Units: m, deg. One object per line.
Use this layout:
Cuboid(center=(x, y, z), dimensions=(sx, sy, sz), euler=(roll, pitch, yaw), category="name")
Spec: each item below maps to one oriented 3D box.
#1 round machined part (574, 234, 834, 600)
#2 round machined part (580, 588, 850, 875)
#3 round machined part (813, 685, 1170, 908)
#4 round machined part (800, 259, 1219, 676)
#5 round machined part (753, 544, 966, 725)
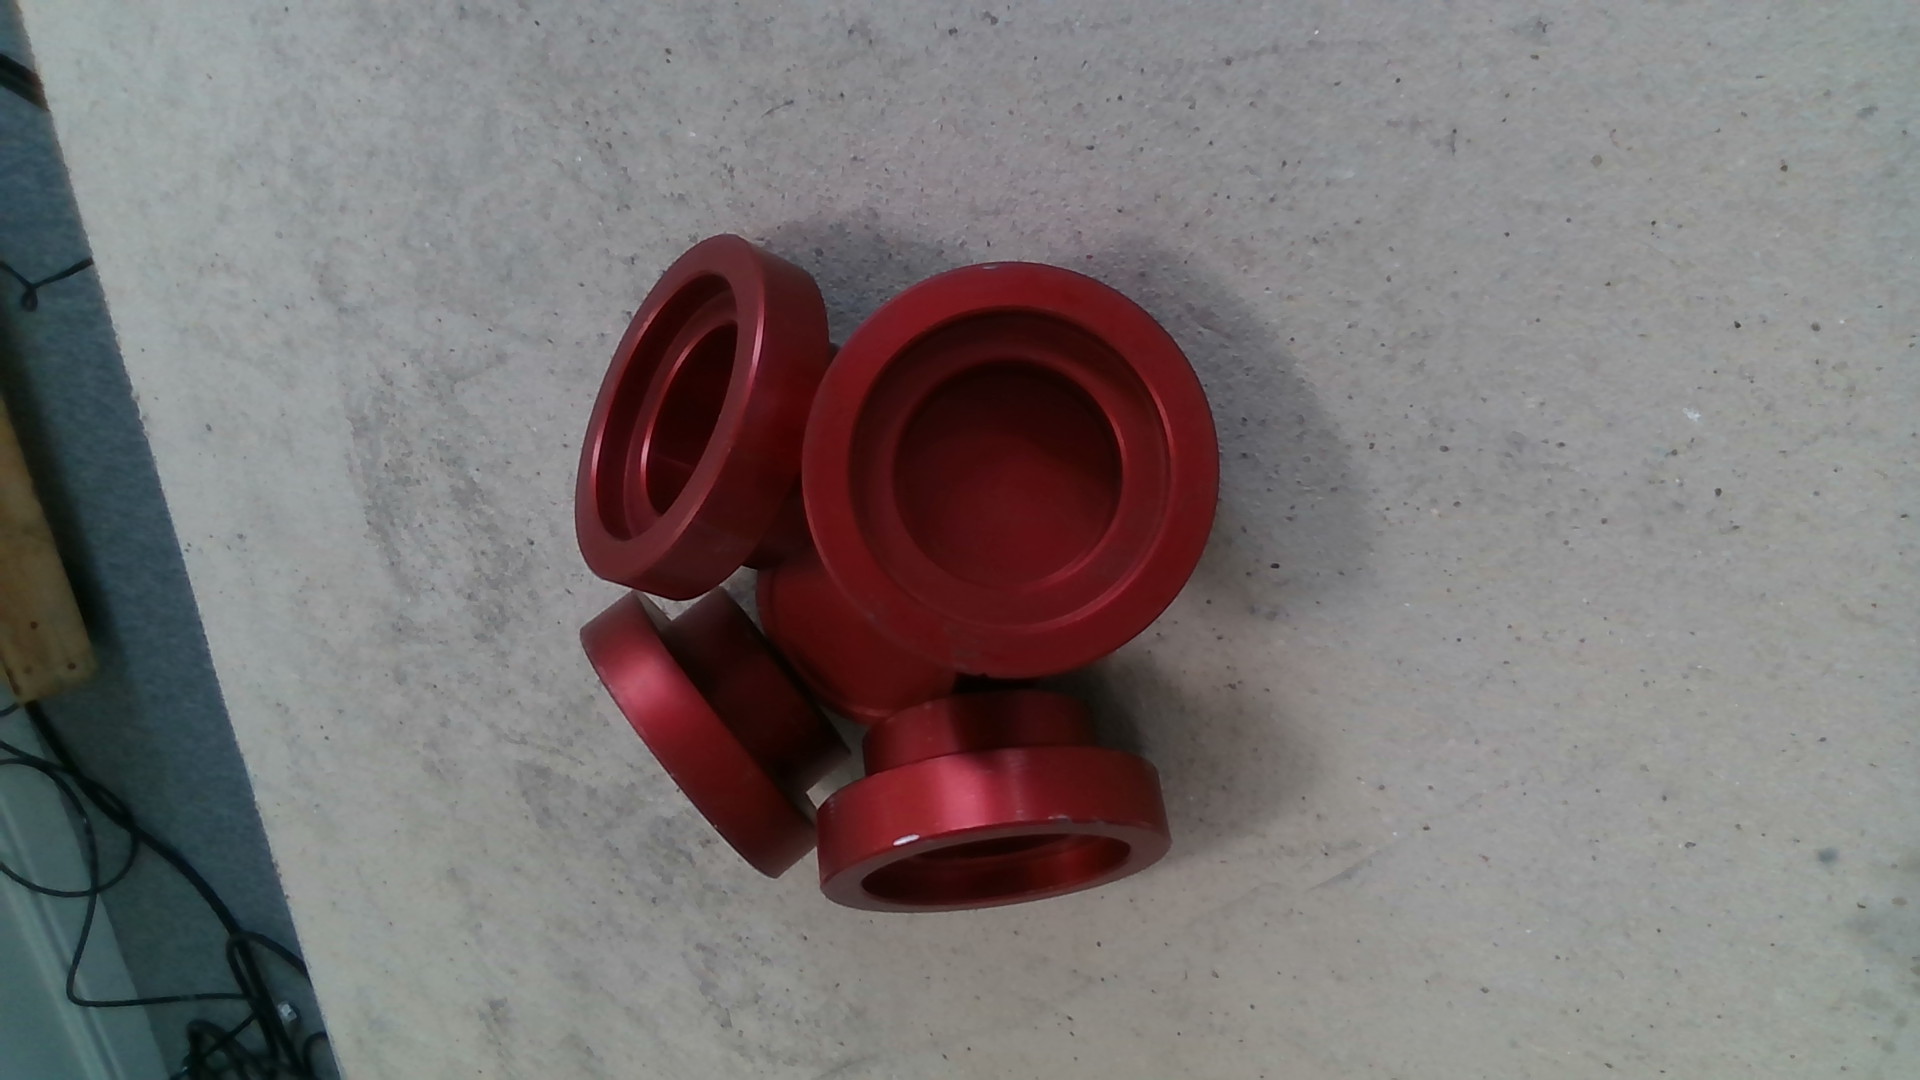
Cuboid(center=(-0.064, -0.030, 0.379), dimensions=(0.042, 0.098, 0.098), euler=(20, 141, -35), category="round machined part")
Cuboid(center=(-0.071, 0.053, 0.430), dimensions=(0.098, 0.042, 0.098), euler=(51, 172, 10), category="round machined part")
Cuboid(center=(0.007, 0.073, 0.391), dimensions=(0.098, 0.098, 0.042), euler=(-31, 56, 39), category="round machined part")
Cuboid(center=(0.011, -0.016, 0.342), dimensions=(0.098, 0.042, 0.098), euler=(0, 88, 0), category="round machined part")
Cuboid(center=(-0.020, 0.015, 0.399), dimensions=(0.098, 0.042, 0.098), euler=(14, 123, 23), category="round machined part")
